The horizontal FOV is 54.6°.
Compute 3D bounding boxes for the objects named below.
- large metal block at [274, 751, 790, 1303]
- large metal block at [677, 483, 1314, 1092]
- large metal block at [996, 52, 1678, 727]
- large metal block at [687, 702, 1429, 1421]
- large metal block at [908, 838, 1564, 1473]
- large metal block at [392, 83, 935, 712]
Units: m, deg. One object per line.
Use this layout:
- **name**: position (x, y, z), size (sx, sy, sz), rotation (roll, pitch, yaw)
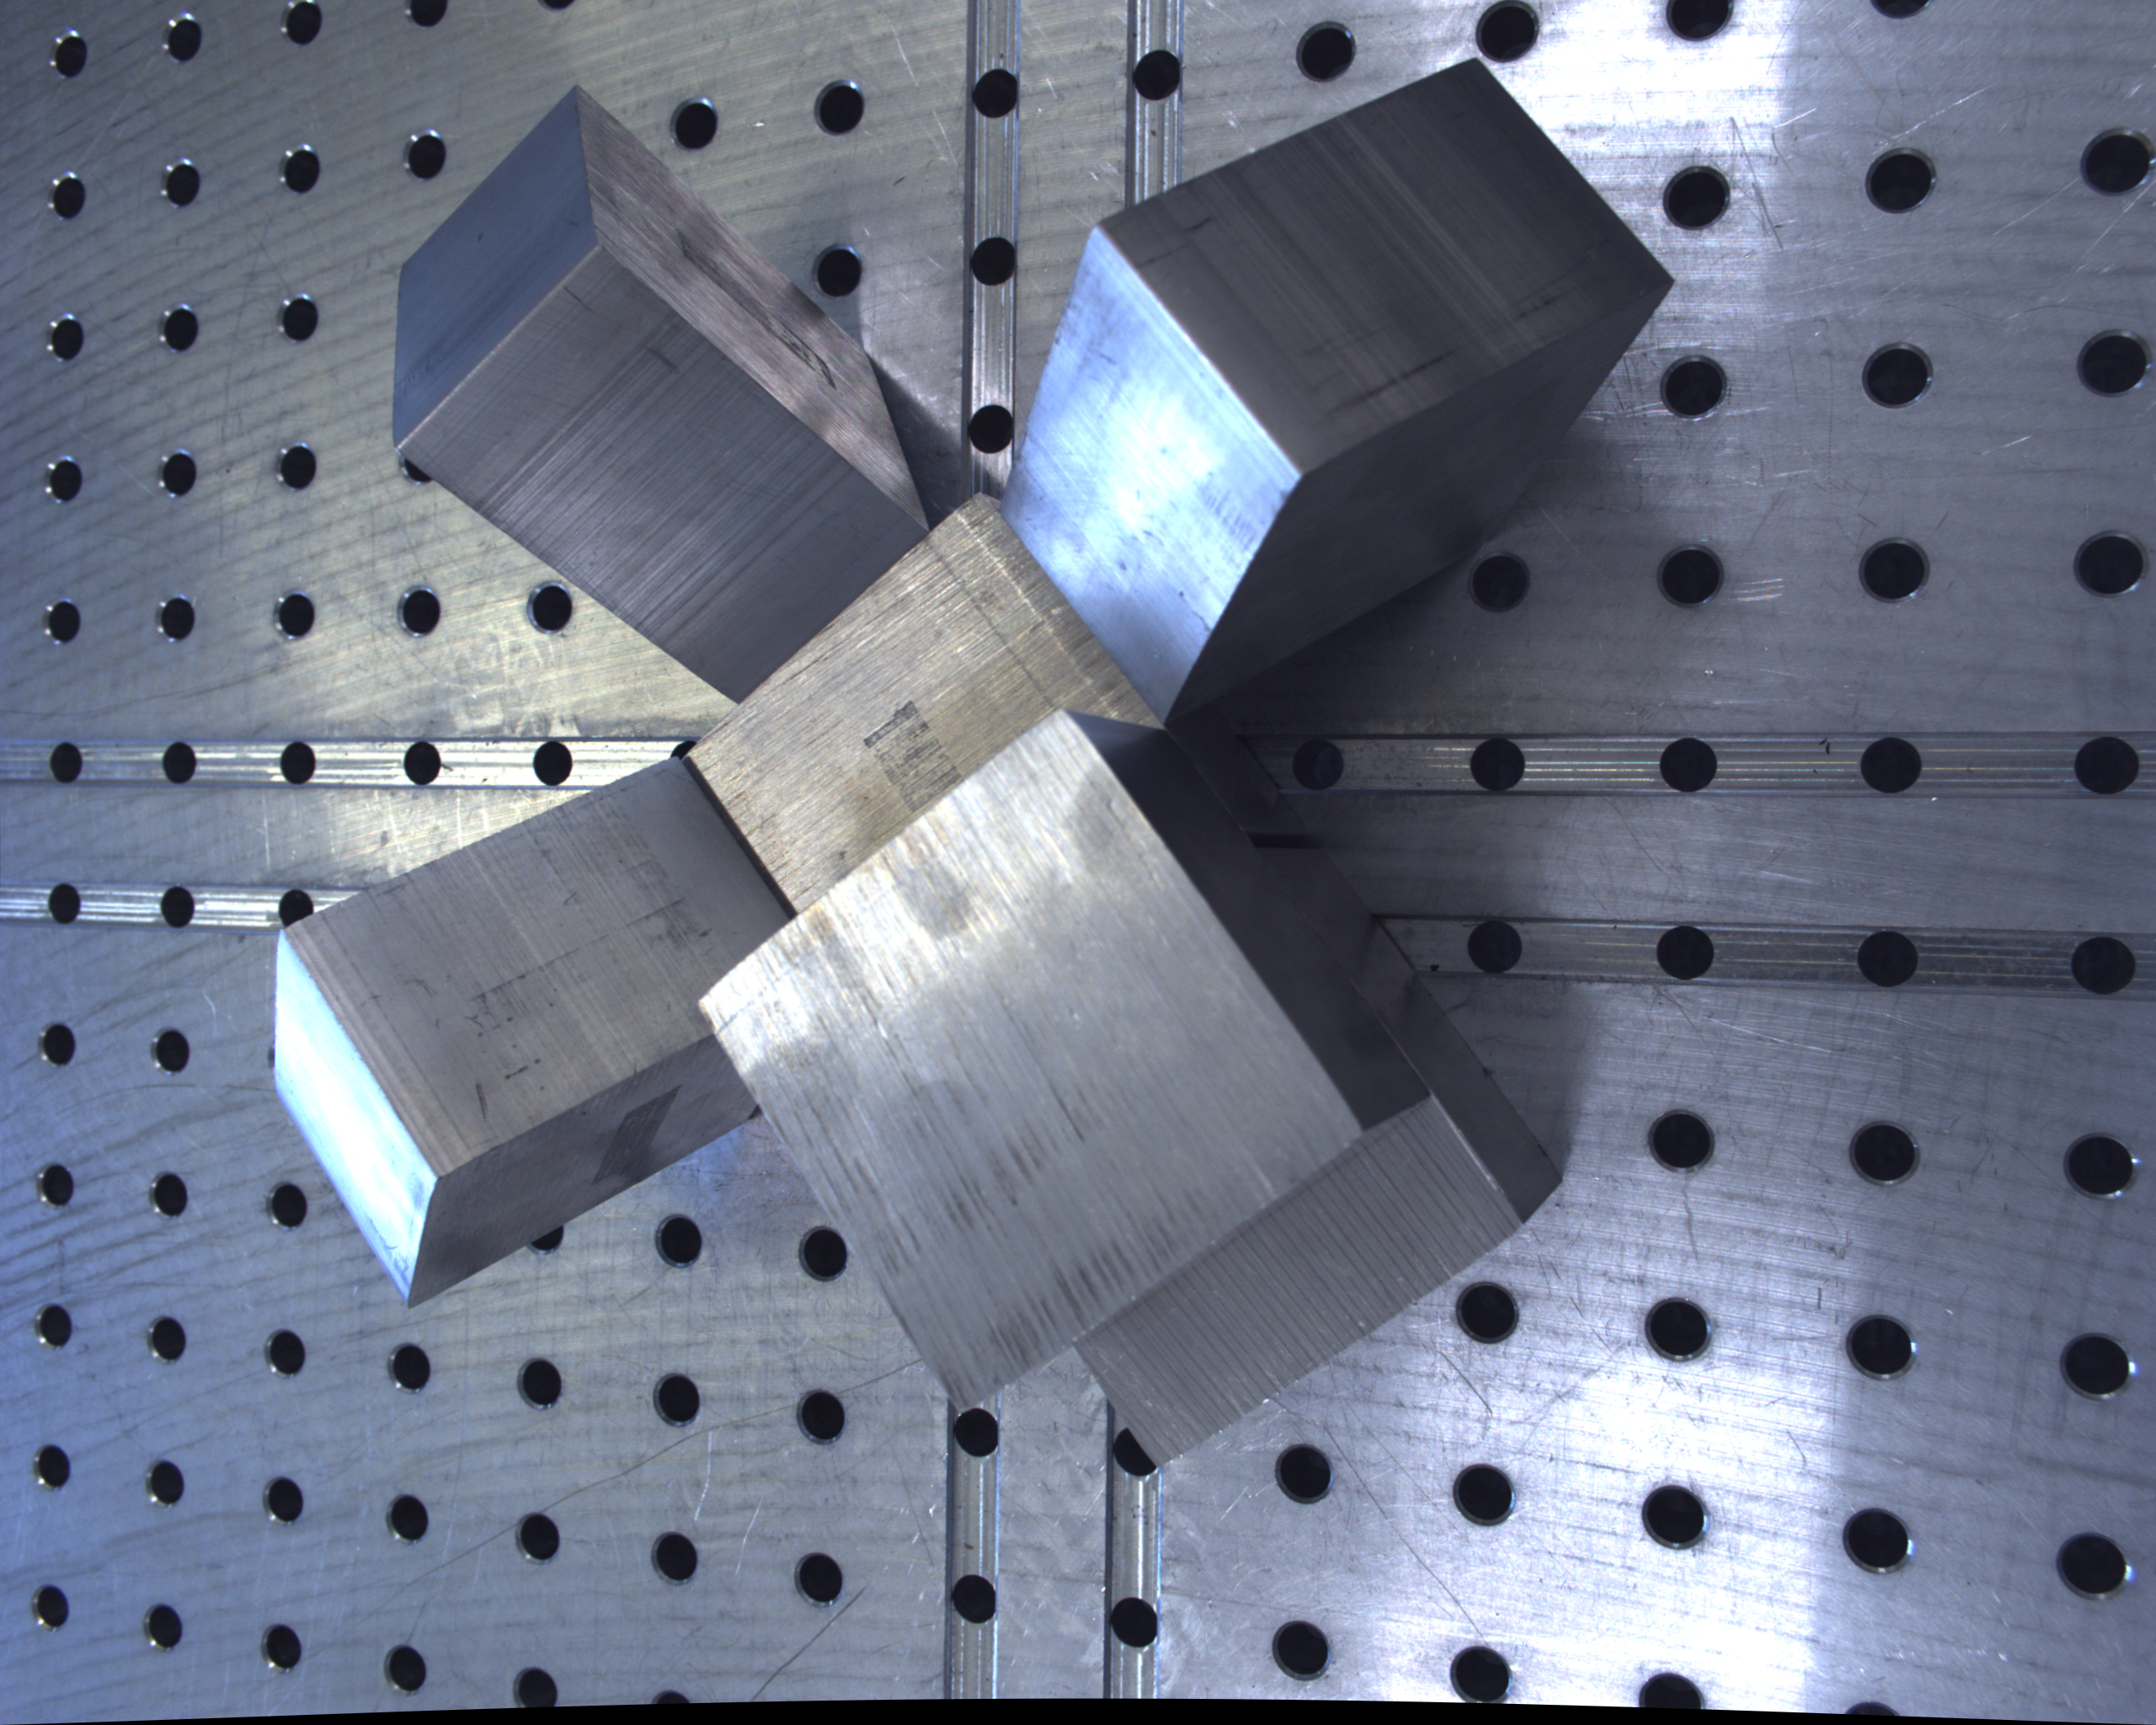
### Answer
- **large metal block**: position (-0.105, 0.033, 0.405), size (0.050, 0.081, 0.080), rotation (54, 148, 13)
- **large metal block**: position (-0.015, -0.013, 0.405), size (0.080, 0.050, 0.080), rotation (-40, 78, 15)
- **large metal block**: position (0.040, -0.077, 0.353), size (0.080, 0.080, 0.050), rotation (-31, 77, -23)
- **large metal block**: position (-0.002, 0.031, 0.346), size (0.080, 0.050, 0.080), rotation (-39, 79, 15)
- **large metal block**: position (0.030, 0.052, 0.388), size (0.080, 0.050, 0.080), rotation (-38, 77, 15)
- **large metal block**: position (-0.079, -0.088, 0.395), size (0.050, 0.080, 0.080), rotation (-40, 38, 16)
